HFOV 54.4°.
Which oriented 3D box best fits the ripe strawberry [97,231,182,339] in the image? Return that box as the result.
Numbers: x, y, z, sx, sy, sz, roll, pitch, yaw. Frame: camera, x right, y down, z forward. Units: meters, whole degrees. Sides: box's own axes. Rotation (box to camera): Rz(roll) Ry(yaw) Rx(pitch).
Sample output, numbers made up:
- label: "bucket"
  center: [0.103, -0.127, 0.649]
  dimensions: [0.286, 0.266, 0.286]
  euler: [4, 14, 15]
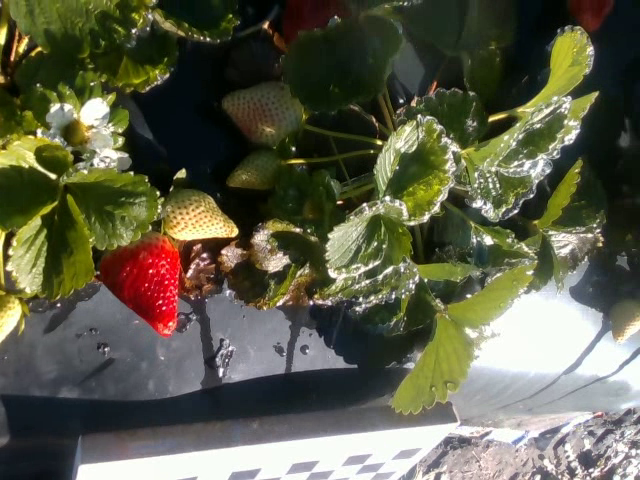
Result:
- label: "ripe strawberry"
  center: [-0.081, 0.023, 0.290]
  dimensions: [0.040, 0.053, 0.042]
  euler: [-24, -10, 1]
